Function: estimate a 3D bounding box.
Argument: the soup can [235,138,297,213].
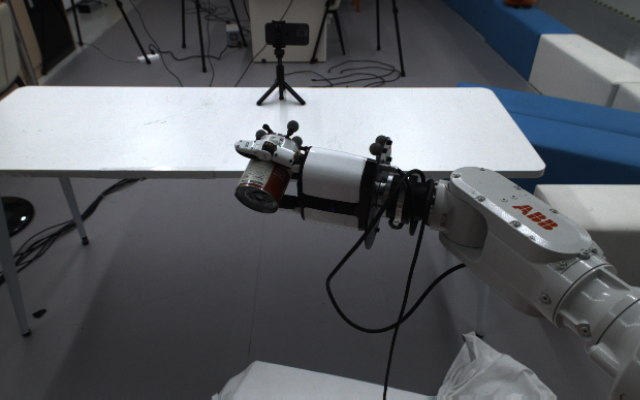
[{"bbox_3d":[-0.076,-0.041,0.713,0.067,0.067,0.101,12,59,14],"label":"soup can"}]
